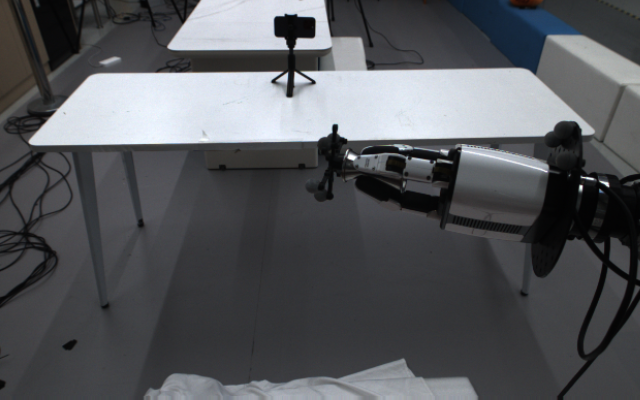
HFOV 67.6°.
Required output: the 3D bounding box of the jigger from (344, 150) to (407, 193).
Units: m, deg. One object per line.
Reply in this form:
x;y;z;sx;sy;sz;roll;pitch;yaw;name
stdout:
0.068;-0.037;0.539;0.071;0.043;0.043;10;35;16;jigger
